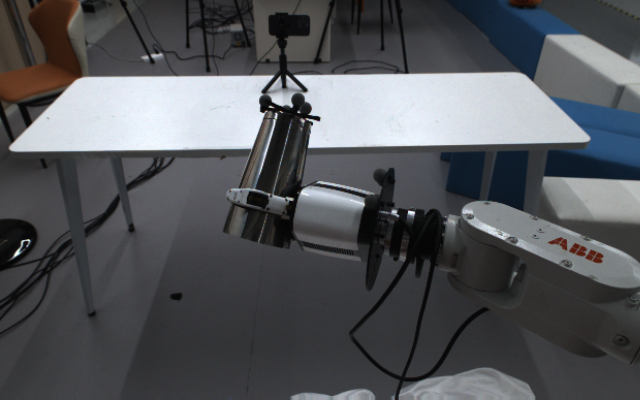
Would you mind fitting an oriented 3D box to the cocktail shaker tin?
[{"bbox_3d":[-0.064,-0.028,0.651,0.093,0.170,0.093,15,-4,1],"label":"cocktail shaker tin"}]
